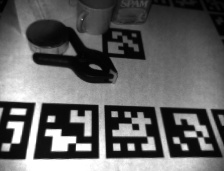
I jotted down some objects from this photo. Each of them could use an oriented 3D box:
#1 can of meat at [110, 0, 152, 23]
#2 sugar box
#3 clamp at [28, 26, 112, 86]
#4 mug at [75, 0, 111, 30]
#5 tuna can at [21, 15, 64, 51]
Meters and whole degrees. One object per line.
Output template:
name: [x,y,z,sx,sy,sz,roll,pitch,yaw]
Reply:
can of meat: [0.048,-0.208,0.547,0.102,0.084,0.057,-2,56,-14]
sugar box: [-0.142,-0.195,0.495,0.178,0.093,0.045,-30,65,-28]
clamp: [-0.072,-0.055,0.452,0.164,0.036,0.122,36,54,7]
mug: [-0.050,-0.177,0.498,0.093,0.081,0.117,26,58,6]
tuna can: [-0.148,-0.110,0.466,0.086,0.034,0.085,5,58,-8]
